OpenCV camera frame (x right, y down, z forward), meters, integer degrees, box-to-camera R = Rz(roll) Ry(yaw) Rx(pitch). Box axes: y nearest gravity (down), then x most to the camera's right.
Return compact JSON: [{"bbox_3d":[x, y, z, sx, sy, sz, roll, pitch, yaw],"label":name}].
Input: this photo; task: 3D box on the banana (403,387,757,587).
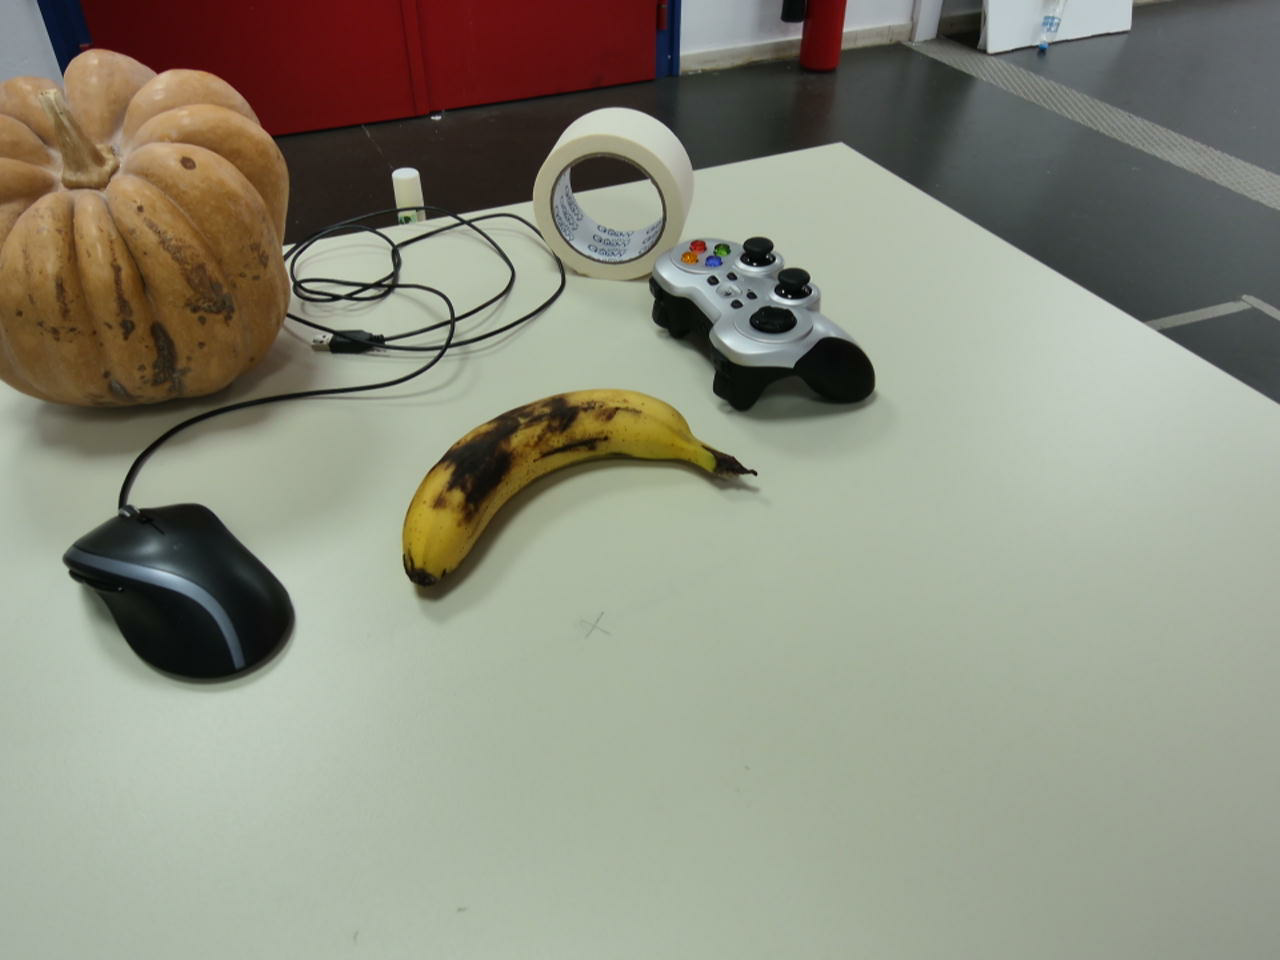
[{"bbox_3d":[-0.044,-0.008,0.526,0.187,0.039,0.094,-17,42,-22],"label":"banana"}]
